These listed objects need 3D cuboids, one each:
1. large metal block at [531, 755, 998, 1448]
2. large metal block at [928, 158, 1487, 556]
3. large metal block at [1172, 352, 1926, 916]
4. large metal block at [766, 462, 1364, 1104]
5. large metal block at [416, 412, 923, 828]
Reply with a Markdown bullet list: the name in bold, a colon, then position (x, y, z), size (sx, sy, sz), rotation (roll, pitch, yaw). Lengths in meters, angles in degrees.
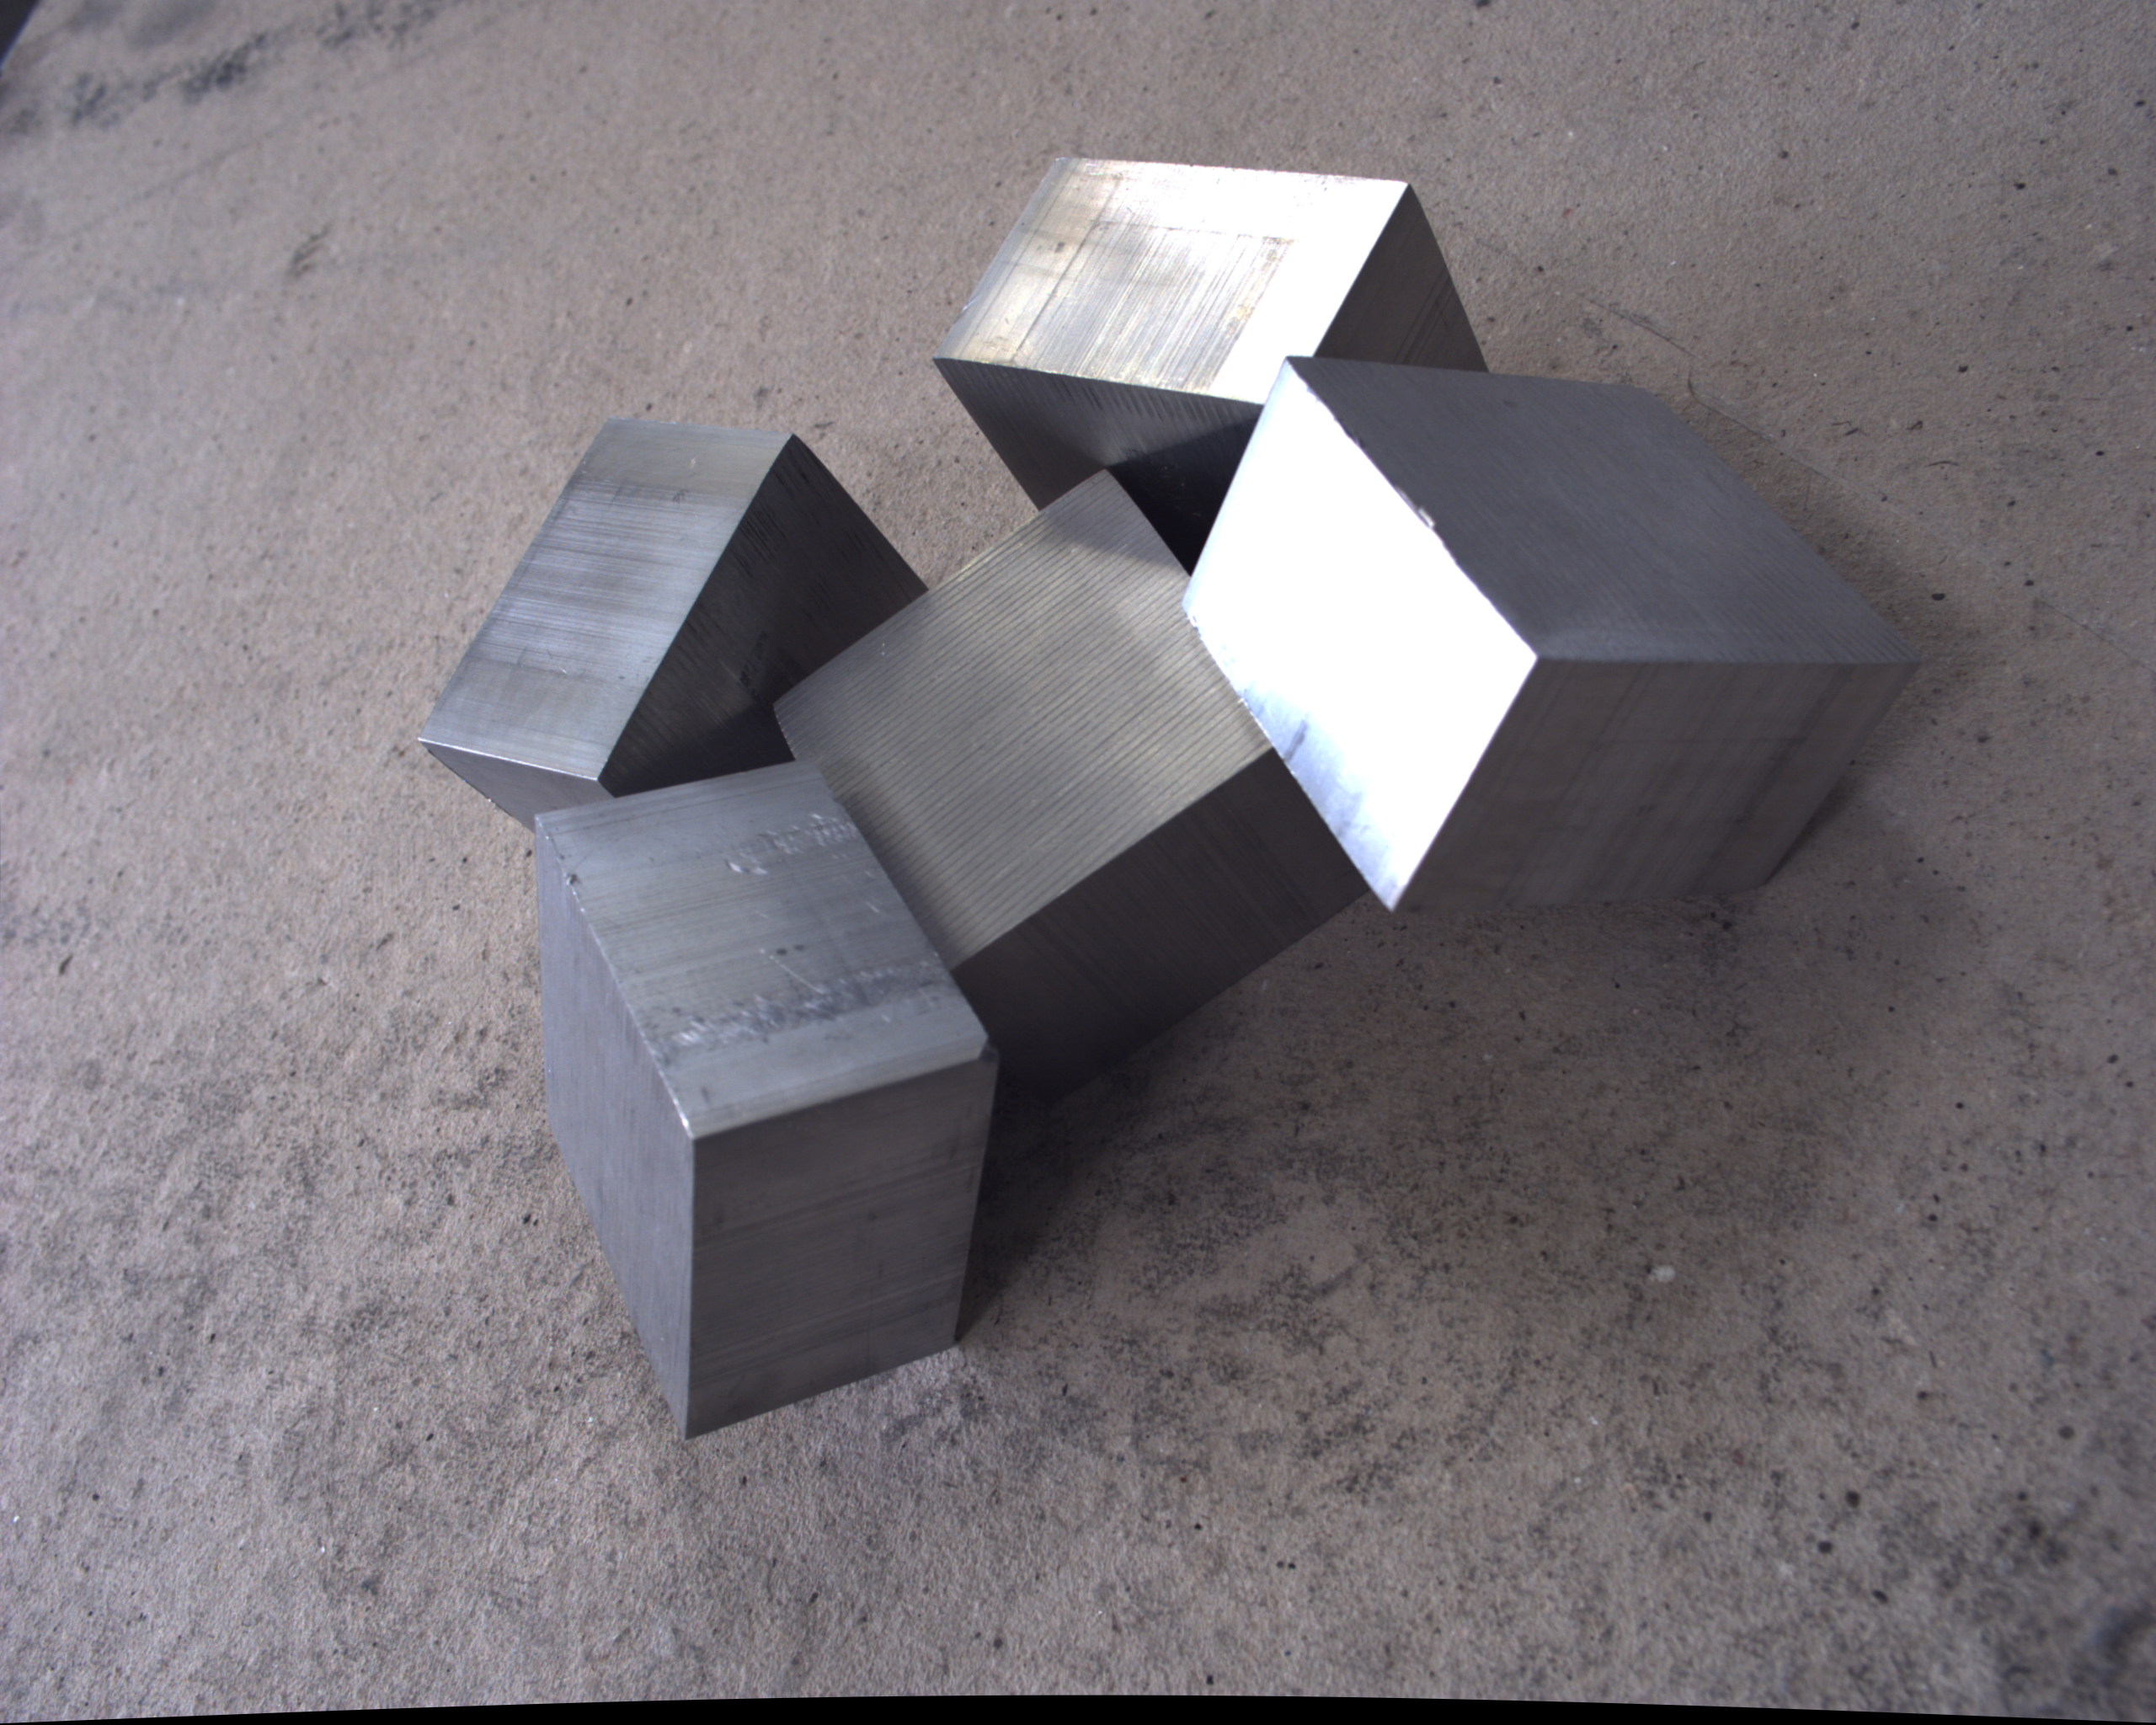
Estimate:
- **large metal block**: position (-0.059, 0.040, 0.368), size (0.050, 0.079, 0.080), rotation (-13, 46, -26)
- **large metal block**: position (0.032, -0.088, 0.408), size (0.080, 0.080, 0.050), rotation (17, 71, 35)
- **large metal block**: position (0.075, -0.039, 0.347), size (0.080, 0.081, 0.050), rotation (61, 141, 39)
- **large metal block**: position (-0.001, -0.015, 0.397), size (0.080, 0.050, 0.080), rotation (-35, 52, 5)
- **large metal block**: position (-0.074, -0.035, 0.431), size (0.050, 0.080, 0.080), rotation (13, 69, 33)
